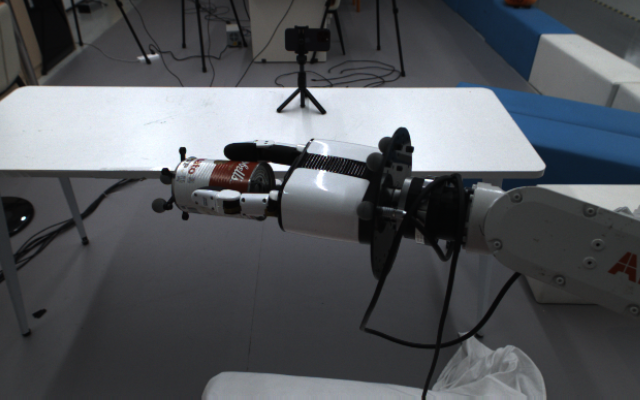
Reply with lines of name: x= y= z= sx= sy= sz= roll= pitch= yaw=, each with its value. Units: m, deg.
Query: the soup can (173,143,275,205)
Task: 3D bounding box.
soup can: x=-0.109 y=-0.013 z=0.567 sx=0.101 sy=0.067 sz=0.067 roll=5 pitch=34 yaw=18
